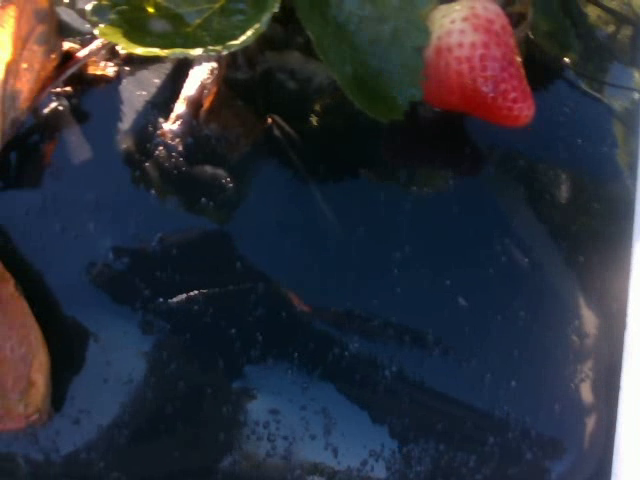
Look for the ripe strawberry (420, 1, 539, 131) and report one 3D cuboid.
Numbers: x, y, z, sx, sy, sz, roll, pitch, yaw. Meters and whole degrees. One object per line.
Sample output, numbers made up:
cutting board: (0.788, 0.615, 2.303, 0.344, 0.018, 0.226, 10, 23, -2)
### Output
ripe strawberry: (0.066, -0.069, 0.249, 0.040, 0.065, 0.040, -40, 2, -17)
